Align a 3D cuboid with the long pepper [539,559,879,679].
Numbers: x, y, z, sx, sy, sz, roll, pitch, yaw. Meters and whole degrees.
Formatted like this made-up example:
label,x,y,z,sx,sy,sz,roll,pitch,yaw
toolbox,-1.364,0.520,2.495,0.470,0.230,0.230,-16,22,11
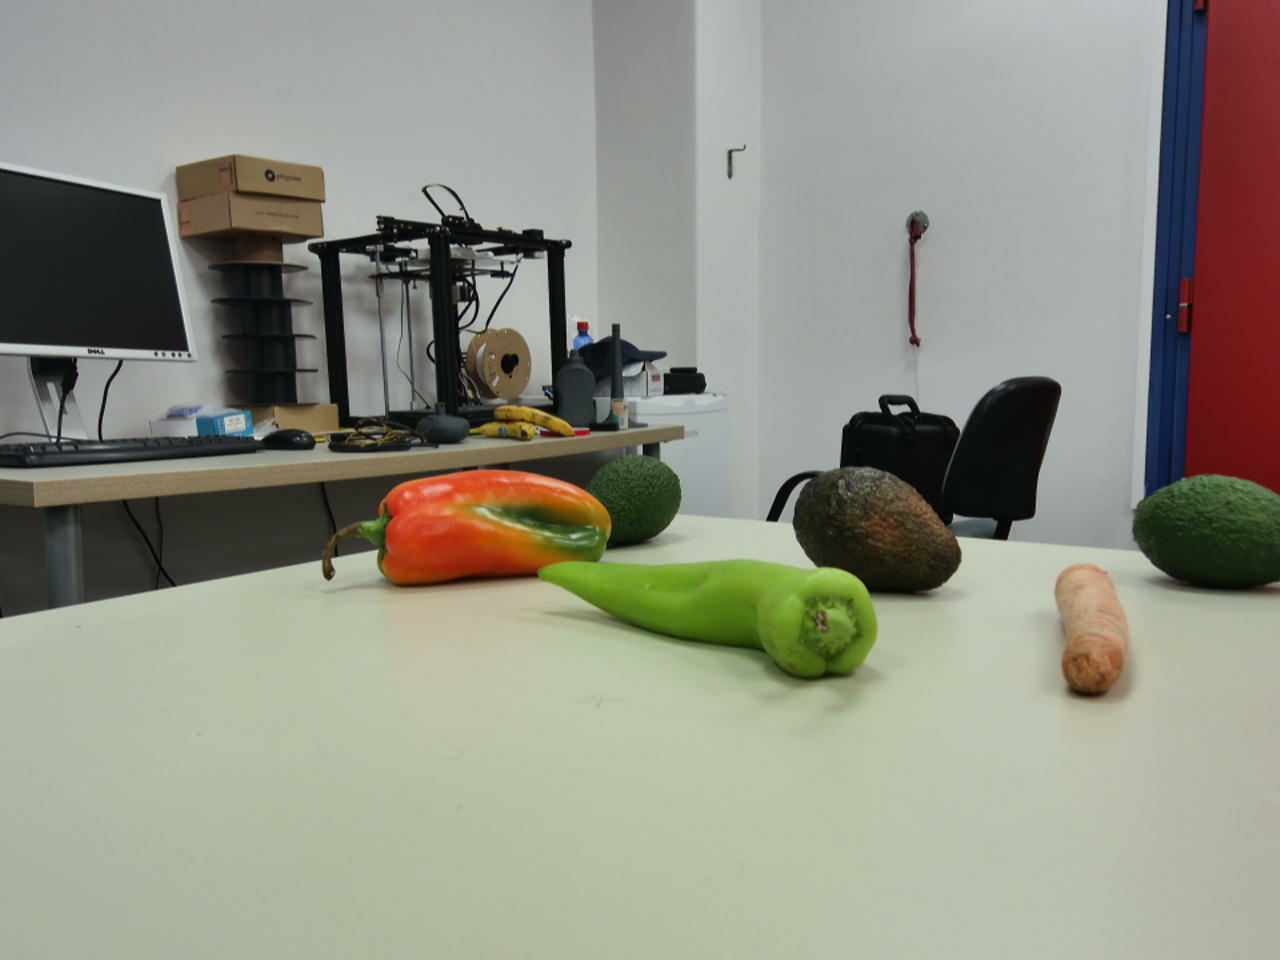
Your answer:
label,x,y,z,sx,sy,sz,roll,pitch,yaw
long pepper,0.032,0.055,0.470,0.065,0.045,0.205,-2,4,-36
